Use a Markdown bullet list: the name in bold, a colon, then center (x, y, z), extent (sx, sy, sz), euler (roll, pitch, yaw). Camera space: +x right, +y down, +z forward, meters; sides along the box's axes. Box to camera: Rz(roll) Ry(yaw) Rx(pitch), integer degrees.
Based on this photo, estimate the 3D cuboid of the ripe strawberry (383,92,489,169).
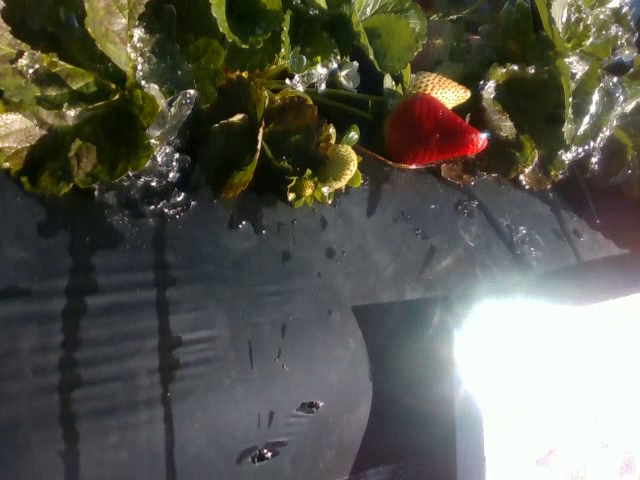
- **ripe strawberry**: center (0.057, -0.052, 0.270), extent (0.053, 0.042, 0.040), euler (24, 60, 36)
